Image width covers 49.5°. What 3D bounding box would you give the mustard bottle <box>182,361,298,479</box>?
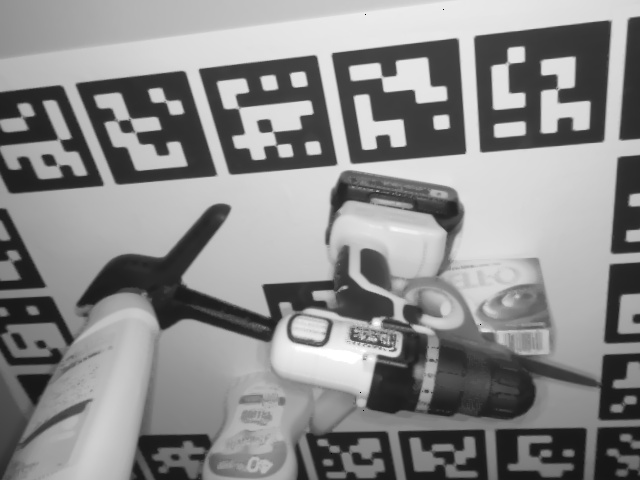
[{"bbox_3d":[-0.085,0.208,0.703,0.096,0.194,0.058,13,124,2],"label":"mustard bottle"}]

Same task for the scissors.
[{"bbox_3d":[0.147,0.108,0.584,0.203,0.016,0.086,23,119,-1],"label":"scissors"}]

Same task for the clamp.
[{"bbox_3d":[-0.164,0.046,0.681,0.201,0.037,0.164,-5,119,13],"label":"clamp"}]

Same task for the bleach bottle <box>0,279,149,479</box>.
[{"bbox_3d":[-0.212,0.116,0.606,0.102,0.252,0.068,-20,121,12],"label":"bleach bottle"}]

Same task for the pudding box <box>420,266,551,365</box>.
[{"bbox_3d":[0.147,0.068,0.636,0.113,0.091,0.038,4,129,7],"label":"pudding box"}]

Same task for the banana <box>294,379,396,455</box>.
[{"bbox_3d":[0.032,0.184,0.750,0.194,0.039,0.075,-38,127,26],"label":"banana"}]

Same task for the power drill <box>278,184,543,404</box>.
[{"bbox_3d":[0.071,0.039,0.535,0.185,0.189,0.056,10,130,-1],"label":"power drill"}]
